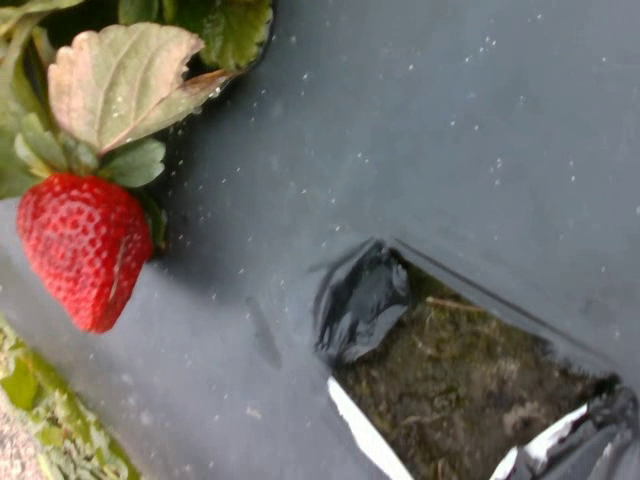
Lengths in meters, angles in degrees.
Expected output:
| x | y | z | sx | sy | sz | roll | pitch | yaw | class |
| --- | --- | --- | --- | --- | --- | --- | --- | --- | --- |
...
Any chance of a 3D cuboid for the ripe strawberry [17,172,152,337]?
| x | y | z | sx | sy | sz | roll | pitch | yaw | class |
| --- | --- | --- | --- | --- | --- | --- | --- | --- | --- |
| -0.078 | 0.005 | 0.218 | 0.048 | 0.064 | 0.046 | -10 | -18 | 4 | ripe strawberry |
